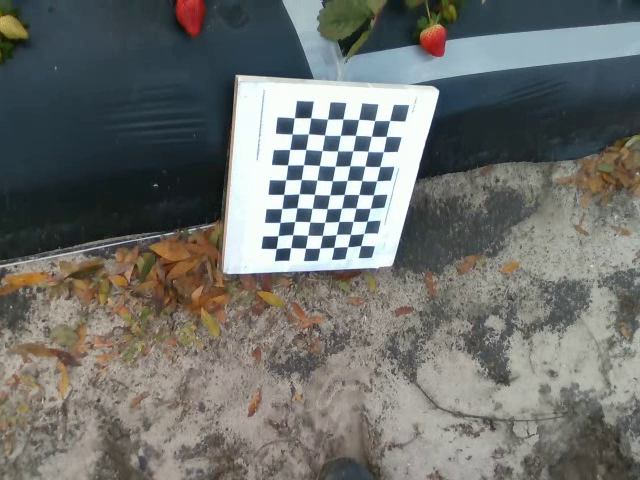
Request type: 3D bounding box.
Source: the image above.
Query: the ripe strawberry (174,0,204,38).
[{"bbox_3d":[-0.130,-0.238,0.658,0.036,0.046,0.040,-8,-9,-3],"label":"ripe strawberry"}]

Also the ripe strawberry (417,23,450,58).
[{"bbox_3d":[0.146,-0.252,0.795,0.039,0.047,0.041,-25,32,9],"label":"ripe strawberry"}]
